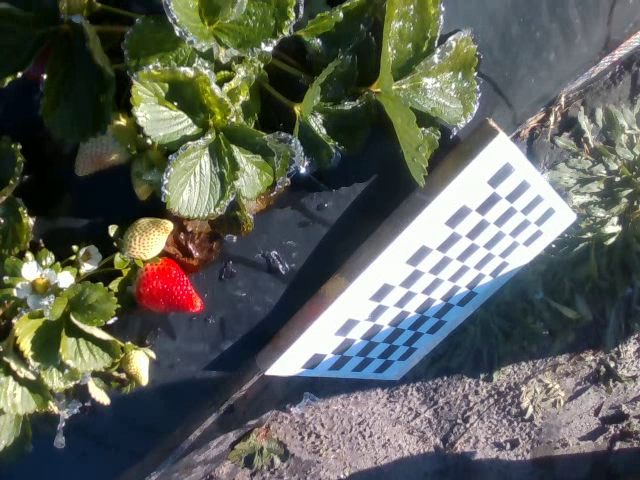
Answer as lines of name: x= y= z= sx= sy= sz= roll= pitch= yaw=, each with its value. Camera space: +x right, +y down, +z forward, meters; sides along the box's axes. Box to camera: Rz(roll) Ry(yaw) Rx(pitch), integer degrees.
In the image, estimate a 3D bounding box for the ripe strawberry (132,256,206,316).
ripe strawberry: x=-0.097 y=0.034 z=0.408 sx=0.053 sy=0.040 sz=0.042 roll=27 pitch=43 yaw=16
